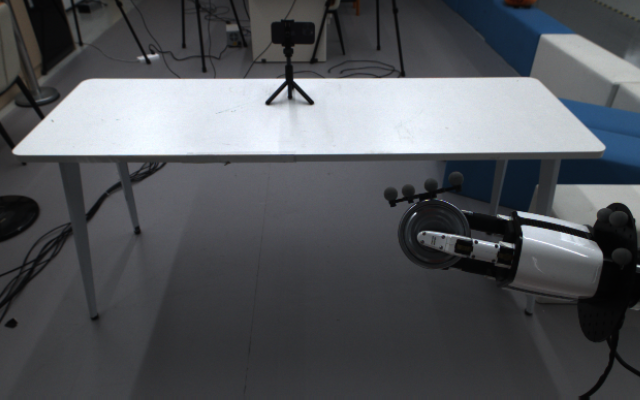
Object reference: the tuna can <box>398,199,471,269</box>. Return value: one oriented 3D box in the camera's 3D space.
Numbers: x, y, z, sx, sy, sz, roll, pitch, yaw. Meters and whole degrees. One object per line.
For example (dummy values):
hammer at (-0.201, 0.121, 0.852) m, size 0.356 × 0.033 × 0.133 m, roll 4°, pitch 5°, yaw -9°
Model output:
tuna can at (0.141, 0.038, 0.588) m, size 0.085 × 0.085 × 0.034 m, roll 12°, pitch 3°, yaw 14°
